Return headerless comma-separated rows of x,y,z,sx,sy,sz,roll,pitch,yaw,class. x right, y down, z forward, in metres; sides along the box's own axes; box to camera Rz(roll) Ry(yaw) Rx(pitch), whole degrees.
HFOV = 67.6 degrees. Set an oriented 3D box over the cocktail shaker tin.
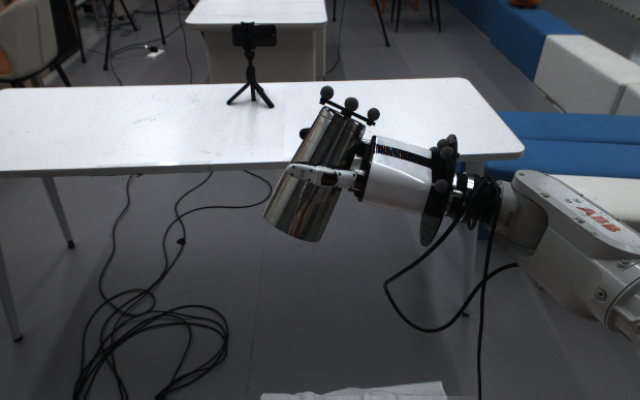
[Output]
-0.001,-0.041,0.668,0.093,0.170,0.093,24,13,-6,cocktail shaker tin
